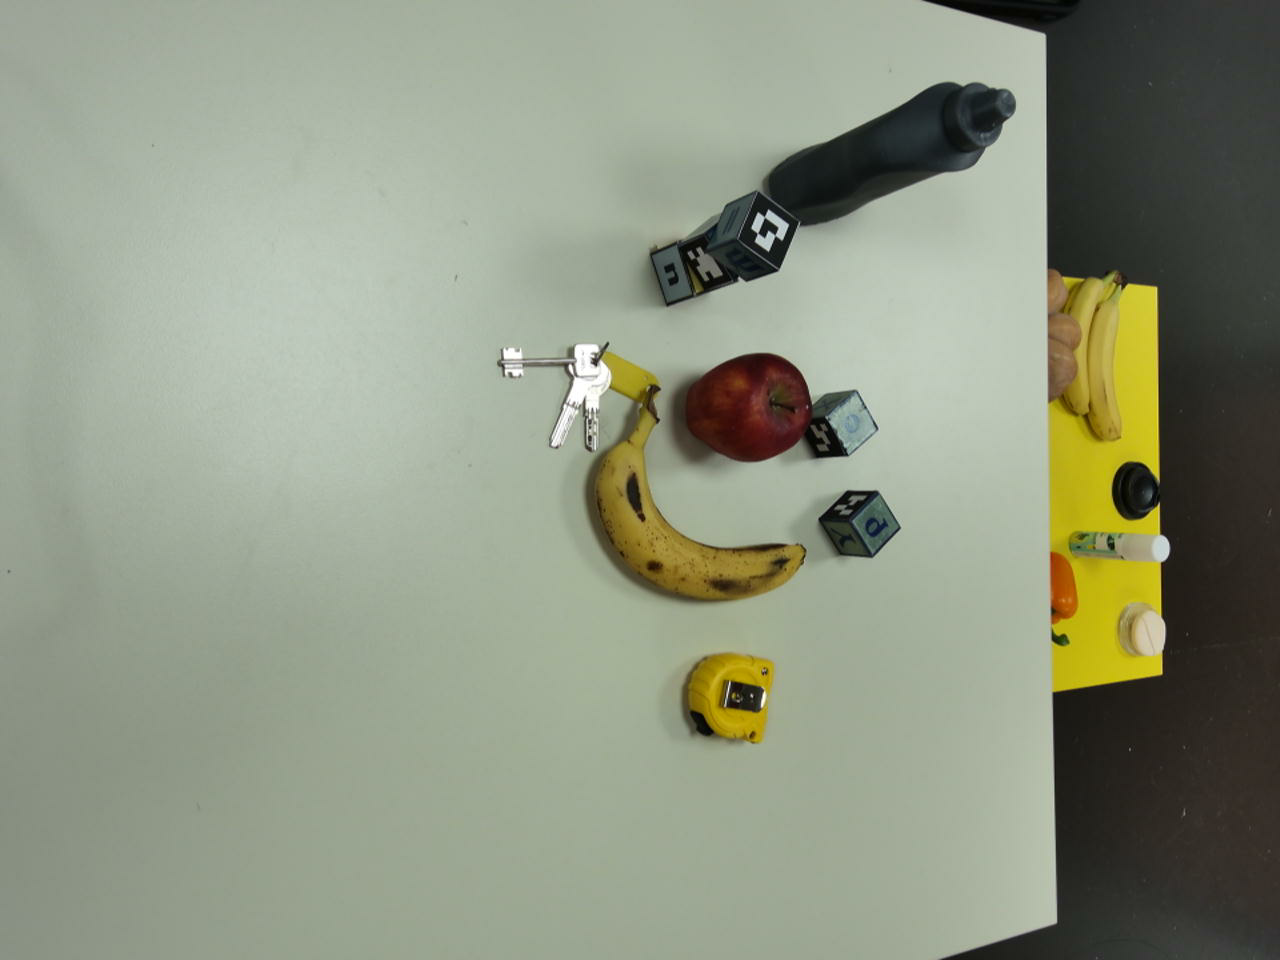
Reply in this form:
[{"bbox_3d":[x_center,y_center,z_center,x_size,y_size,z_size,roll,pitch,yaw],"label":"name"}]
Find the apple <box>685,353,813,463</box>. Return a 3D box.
[{"bbox_3d":[0.079,-0.052,0.700,0.083,0.090,0.083,0,91,-28],"label":"apple"}]
